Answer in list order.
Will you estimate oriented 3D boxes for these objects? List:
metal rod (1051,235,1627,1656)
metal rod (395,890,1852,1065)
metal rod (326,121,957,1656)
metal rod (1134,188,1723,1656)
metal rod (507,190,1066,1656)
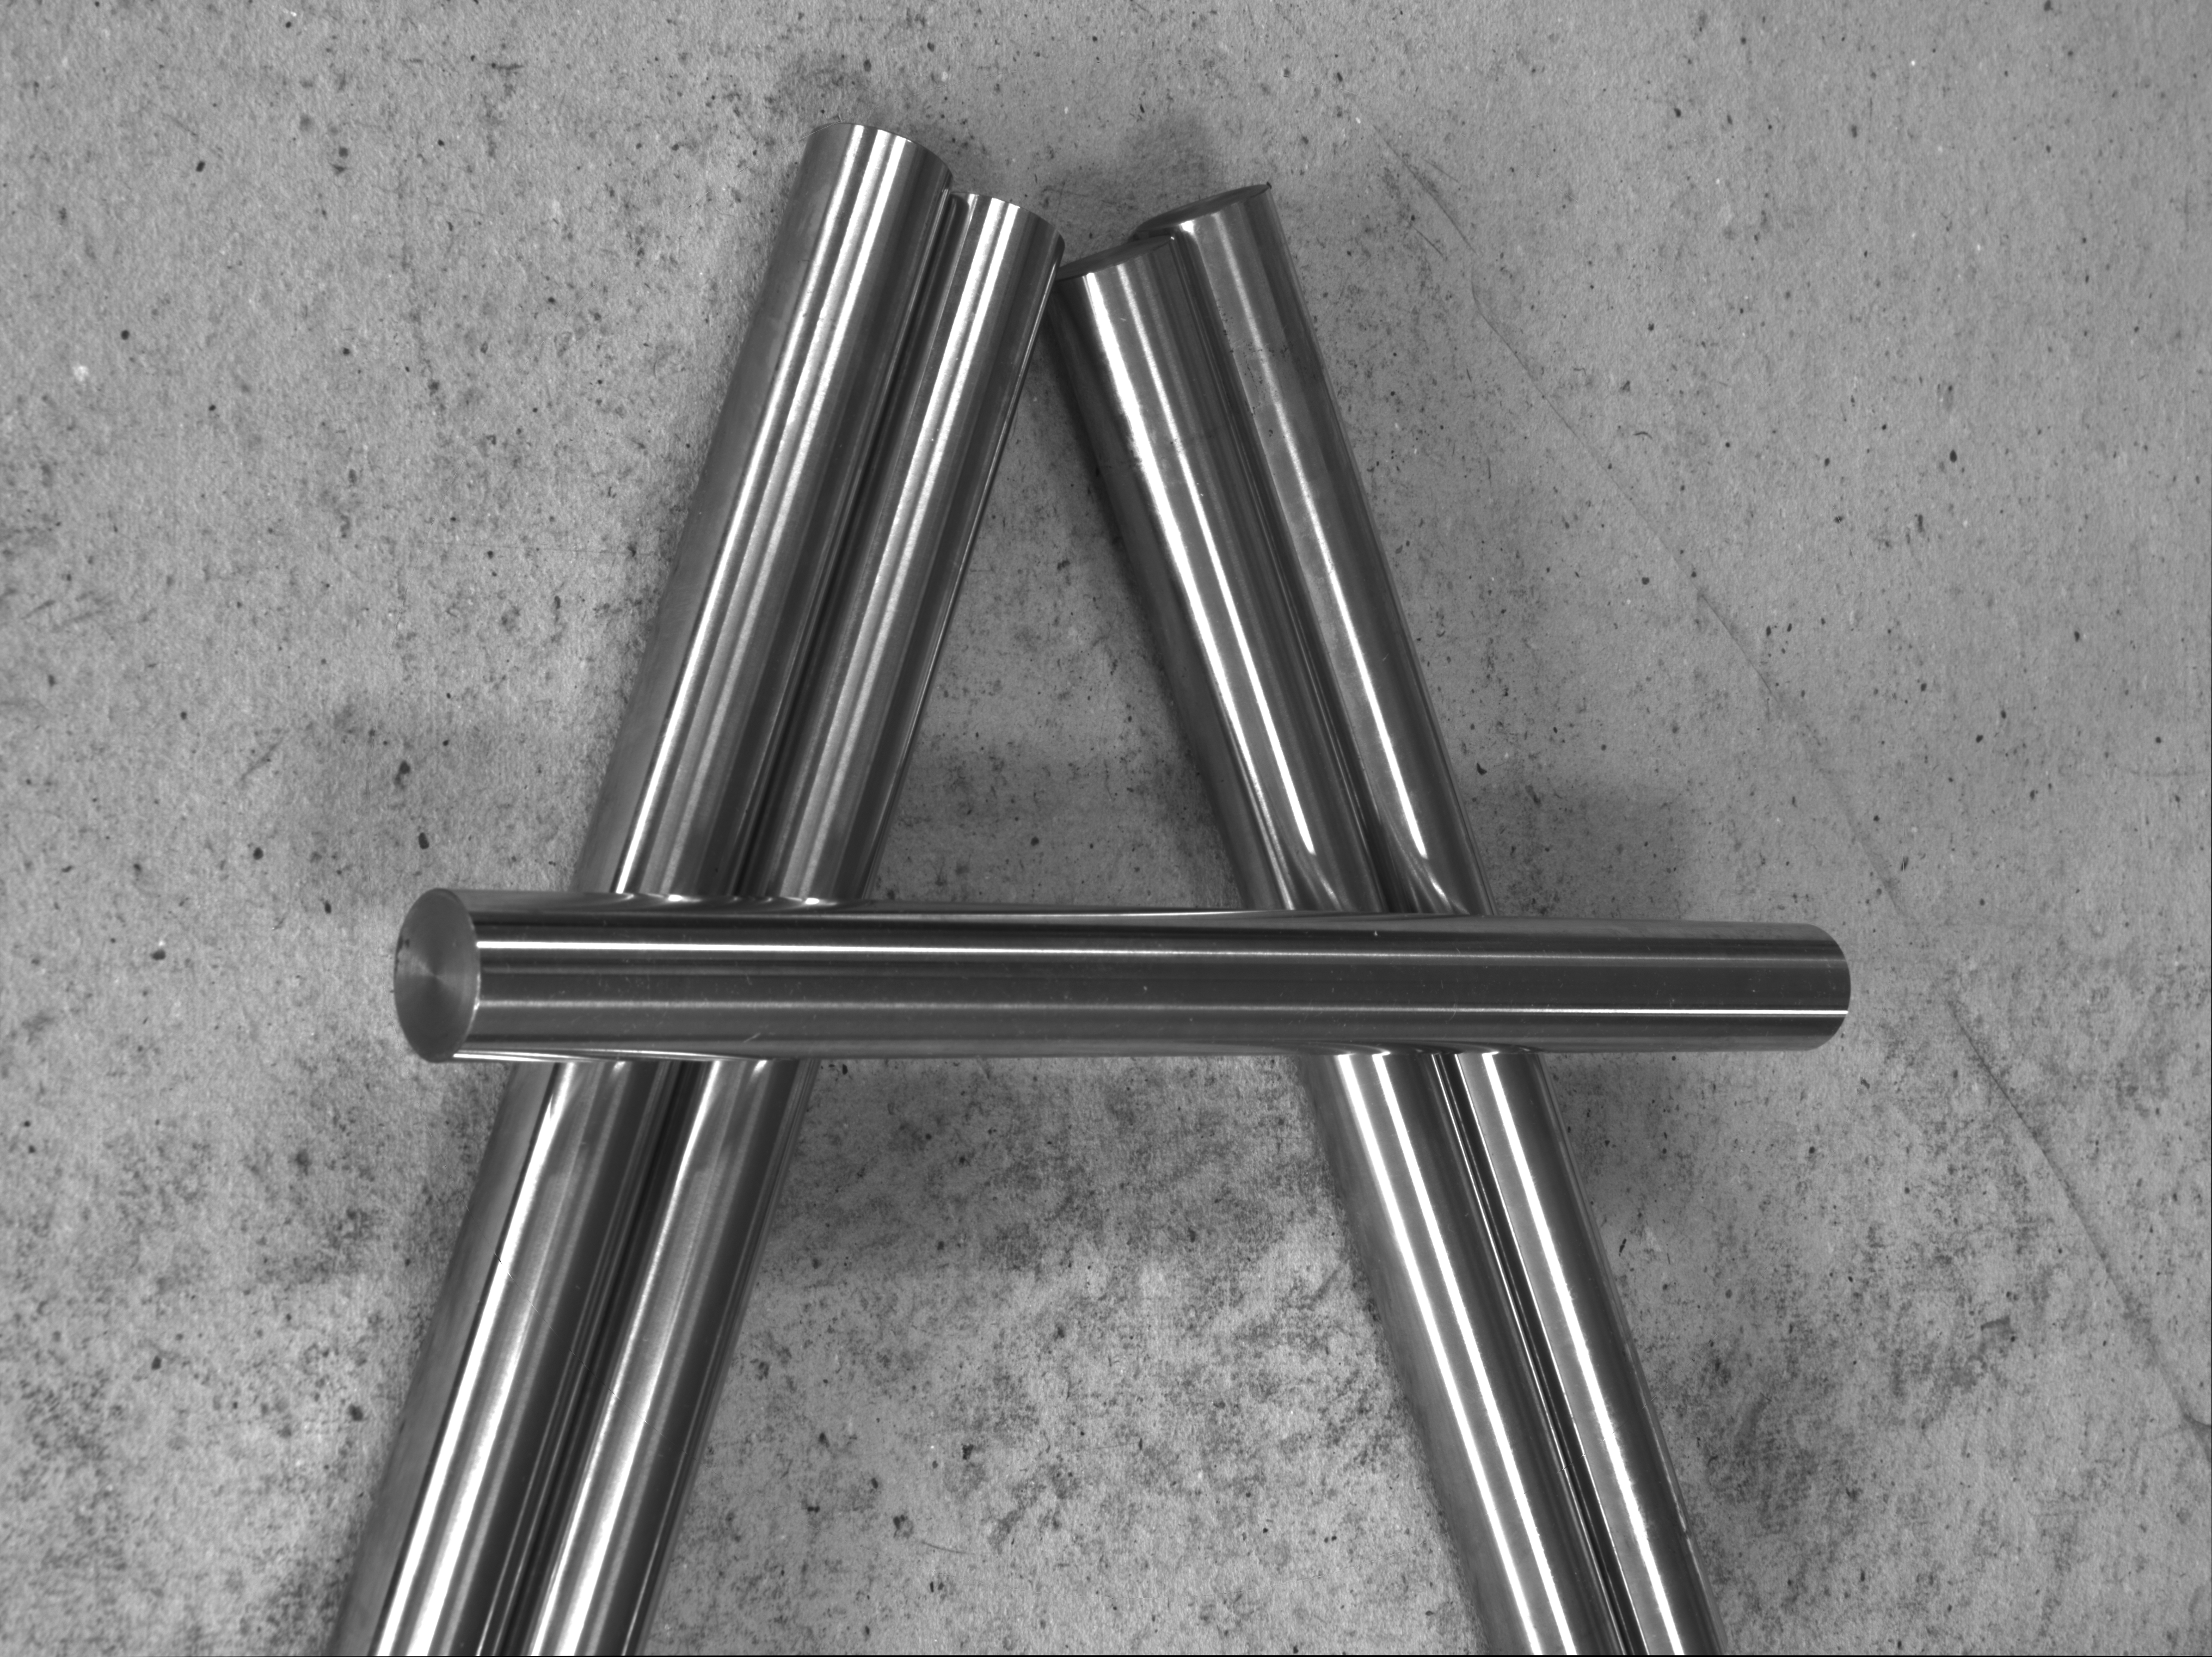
[{"bbox_3d":[0.046,0.038,0.675,0.025,0.025,0.300,-30,108,-36],"label":"metal rod"},{"bbox_3d":[0.020,0.026,0.620,0.301,0.025,0.025,2,88,-40],"label":"metal rod"},{"bbox_3d":[-0.077,0.030,0.571,0.025,0.025,0.300,26,74,-37],"label":"metal rod"},{"bbox_3d":[0.064,0.028,0.689,0.025,0.025,0.300,-30,108,-36],"label":"metal rod"},{"bbox_3d":[-0.059,0.039,0.586,0.025,0.025,0.300,26,74,-37],"label":"metal rod"}]
